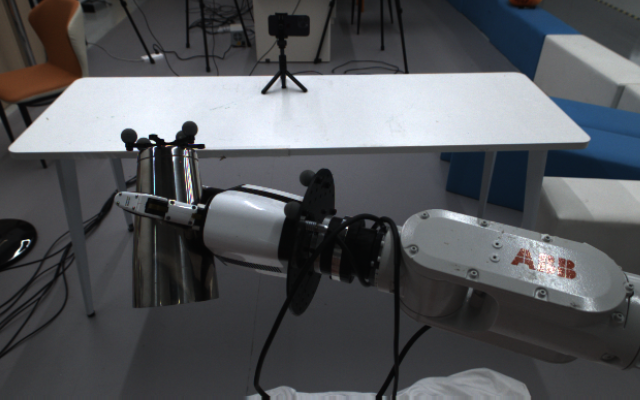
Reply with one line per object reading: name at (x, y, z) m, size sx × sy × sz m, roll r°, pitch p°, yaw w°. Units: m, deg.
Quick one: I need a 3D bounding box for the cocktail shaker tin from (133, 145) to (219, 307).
cocktail shaker tin at (-0.167, 0.031, 0.545) m, size 0.093 × 0.170 × 0.093 m, roll -6°, pitch -7°, yaw -1°
